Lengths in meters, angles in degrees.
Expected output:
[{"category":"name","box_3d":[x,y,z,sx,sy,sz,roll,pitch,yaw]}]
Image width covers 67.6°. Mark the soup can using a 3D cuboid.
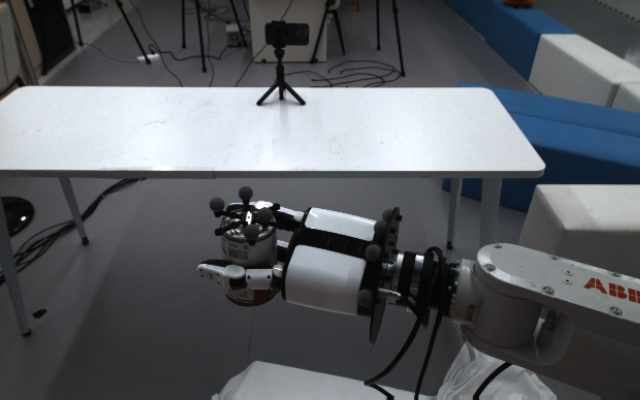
[{"category":"soup can","box_3d":[-0.083,0.070,0.587,0.067,0.101,0.067,2,32,-1]}]
